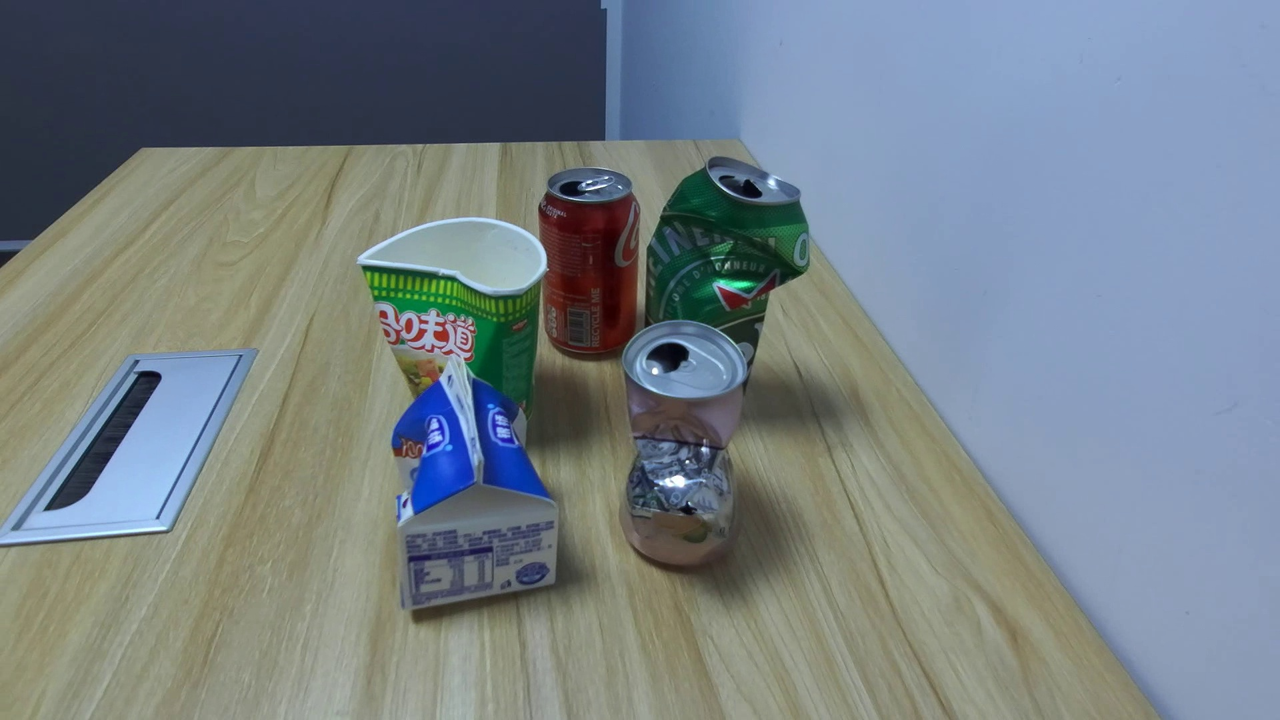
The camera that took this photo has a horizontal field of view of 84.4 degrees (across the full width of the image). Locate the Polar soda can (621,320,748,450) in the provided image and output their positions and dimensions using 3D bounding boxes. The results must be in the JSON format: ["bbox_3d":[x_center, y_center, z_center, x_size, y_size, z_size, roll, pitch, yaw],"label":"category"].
[{"bbox_3d":[0.021,0.046,0.346,0.070,0.114,0.074,-26,40,-27],"label":"Polar soda can"}]

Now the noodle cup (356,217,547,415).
[{"bbox_3d":[-0.096,-0.013,0.413,0.093,0.109,0.087,29,44,31],"label":"noodle cup"}]

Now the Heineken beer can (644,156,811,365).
[{"bbox_3d":[0.040,-0.035,0.412,0.079,0.159,0.067,1,37,-15],"label":"Heineken beer can"}]

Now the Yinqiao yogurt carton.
[{"bbox_3d":[-0.080,0.056,0.335,0.071,0.094,0.077,-4,37,-20],"label":"Yinqiao yogurt carton"}]

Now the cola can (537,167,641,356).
[{"bbox_3d":[-0.033,-0.062,0.478,0.068,0.120,0.068,0,25,0],"label":"cola can"}]
